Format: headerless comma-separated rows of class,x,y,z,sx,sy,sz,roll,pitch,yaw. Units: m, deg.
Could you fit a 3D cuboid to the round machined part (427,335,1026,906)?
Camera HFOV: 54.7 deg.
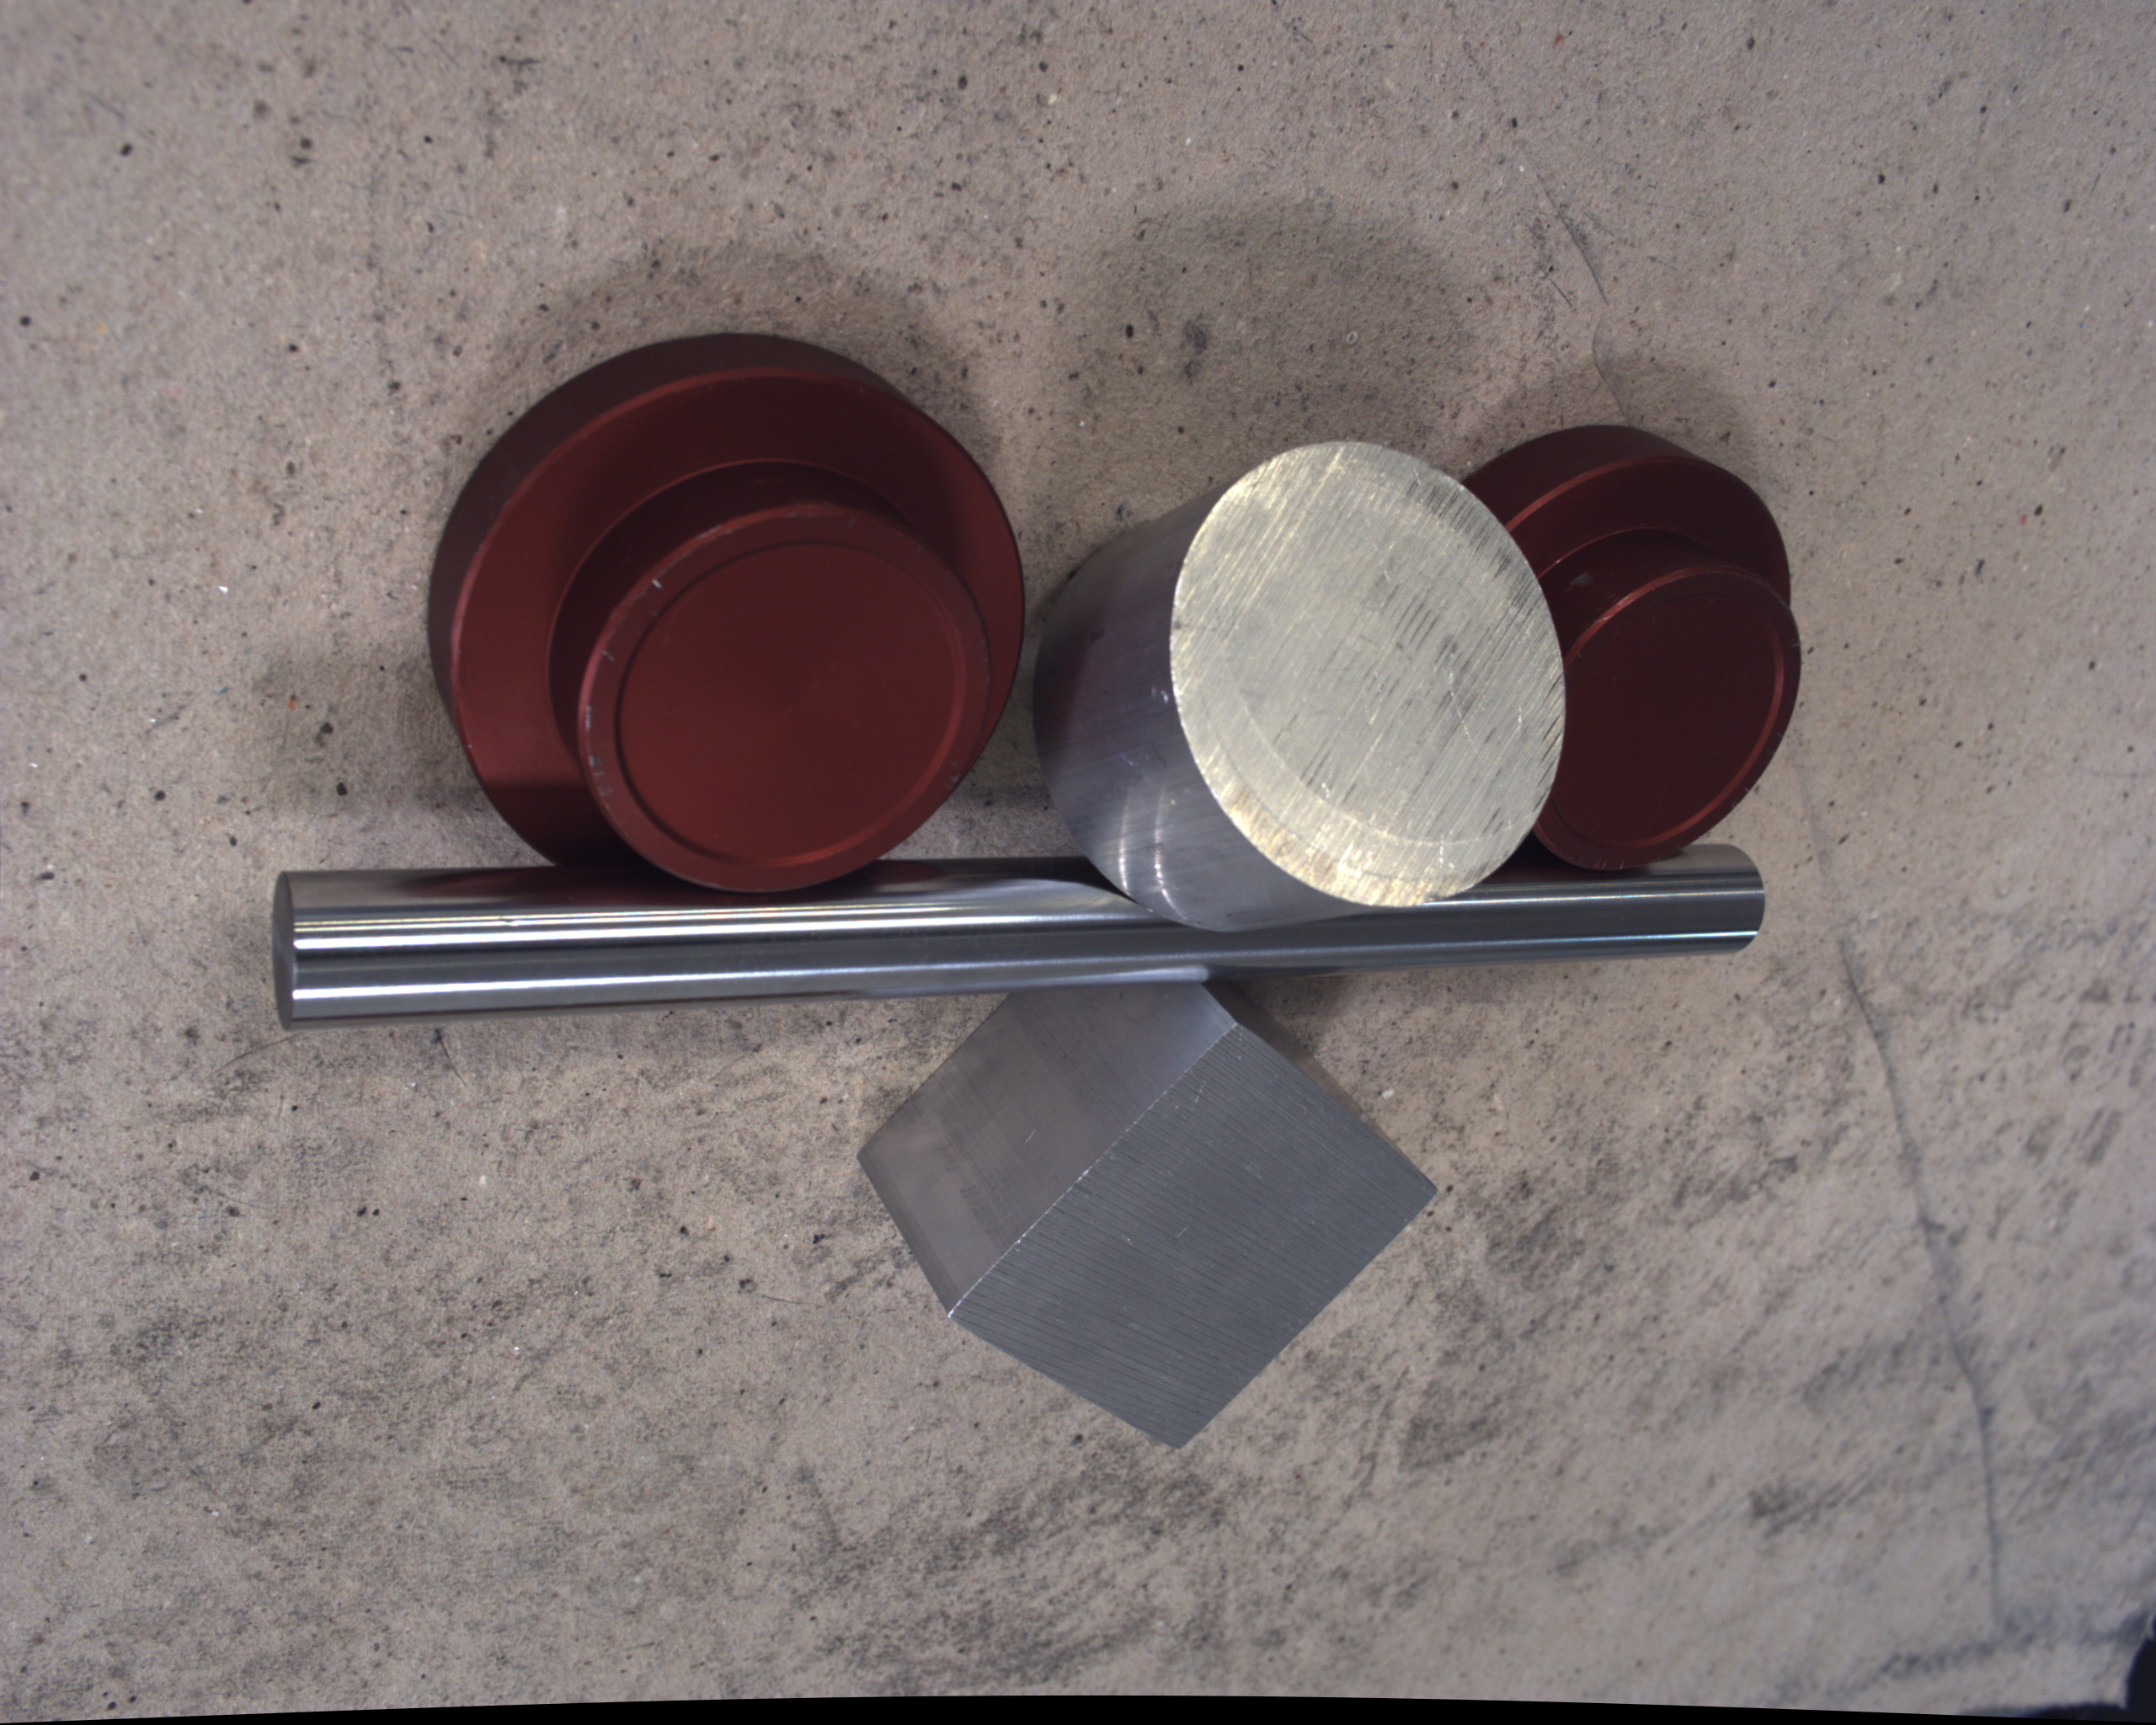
round machined part,-0.053,-0.034,0.346,0.099,0.042,0.097,-14,124,-21

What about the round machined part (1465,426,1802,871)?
round machined part,0.110,-0.037,0.434,0.099,0.042,0.097,-14,124,-21

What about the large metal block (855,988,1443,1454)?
large metal block,0.015,0.066,0.439,0.080,0.050,0.080,-46,129,4

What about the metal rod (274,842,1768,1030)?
metal rod,0.011,0.011,0.393,0.303,0.025,0.025,-1,119,-28

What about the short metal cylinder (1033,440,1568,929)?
short metal cylinder,0.039,-0.029,0.372,0.081,0.050,0.080,4,81,-27
